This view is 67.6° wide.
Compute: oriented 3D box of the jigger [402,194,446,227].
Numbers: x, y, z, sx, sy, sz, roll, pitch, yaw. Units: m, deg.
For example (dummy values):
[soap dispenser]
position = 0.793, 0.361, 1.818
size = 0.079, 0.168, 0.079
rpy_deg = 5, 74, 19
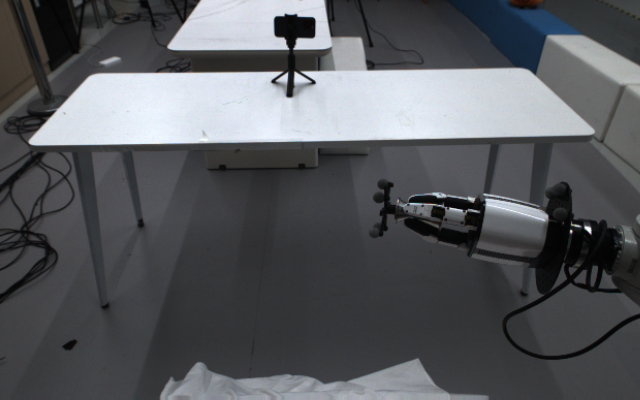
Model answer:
[jigger]
position = 0.155, 0.016, 0.723
size = 0.071, 0.043, 0.043
rpy_deg = 8, 35, 14
